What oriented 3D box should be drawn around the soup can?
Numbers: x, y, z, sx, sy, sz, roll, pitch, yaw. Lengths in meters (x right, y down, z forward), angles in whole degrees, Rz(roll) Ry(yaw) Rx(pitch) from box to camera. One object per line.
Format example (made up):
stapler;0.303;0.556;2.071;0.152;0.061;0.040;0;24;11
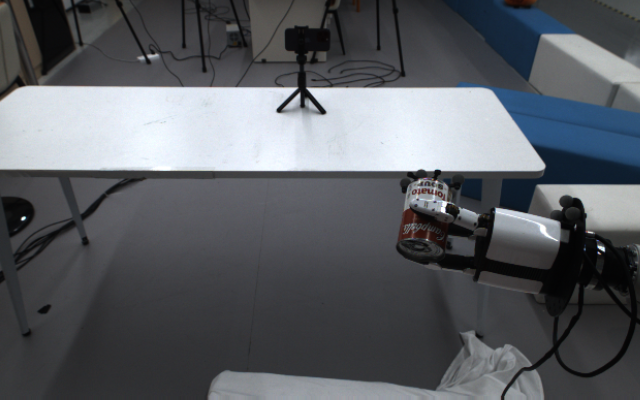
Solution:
soup can;0.151;0.025;0.688;0.067;0.067;0.101;9;60;10
